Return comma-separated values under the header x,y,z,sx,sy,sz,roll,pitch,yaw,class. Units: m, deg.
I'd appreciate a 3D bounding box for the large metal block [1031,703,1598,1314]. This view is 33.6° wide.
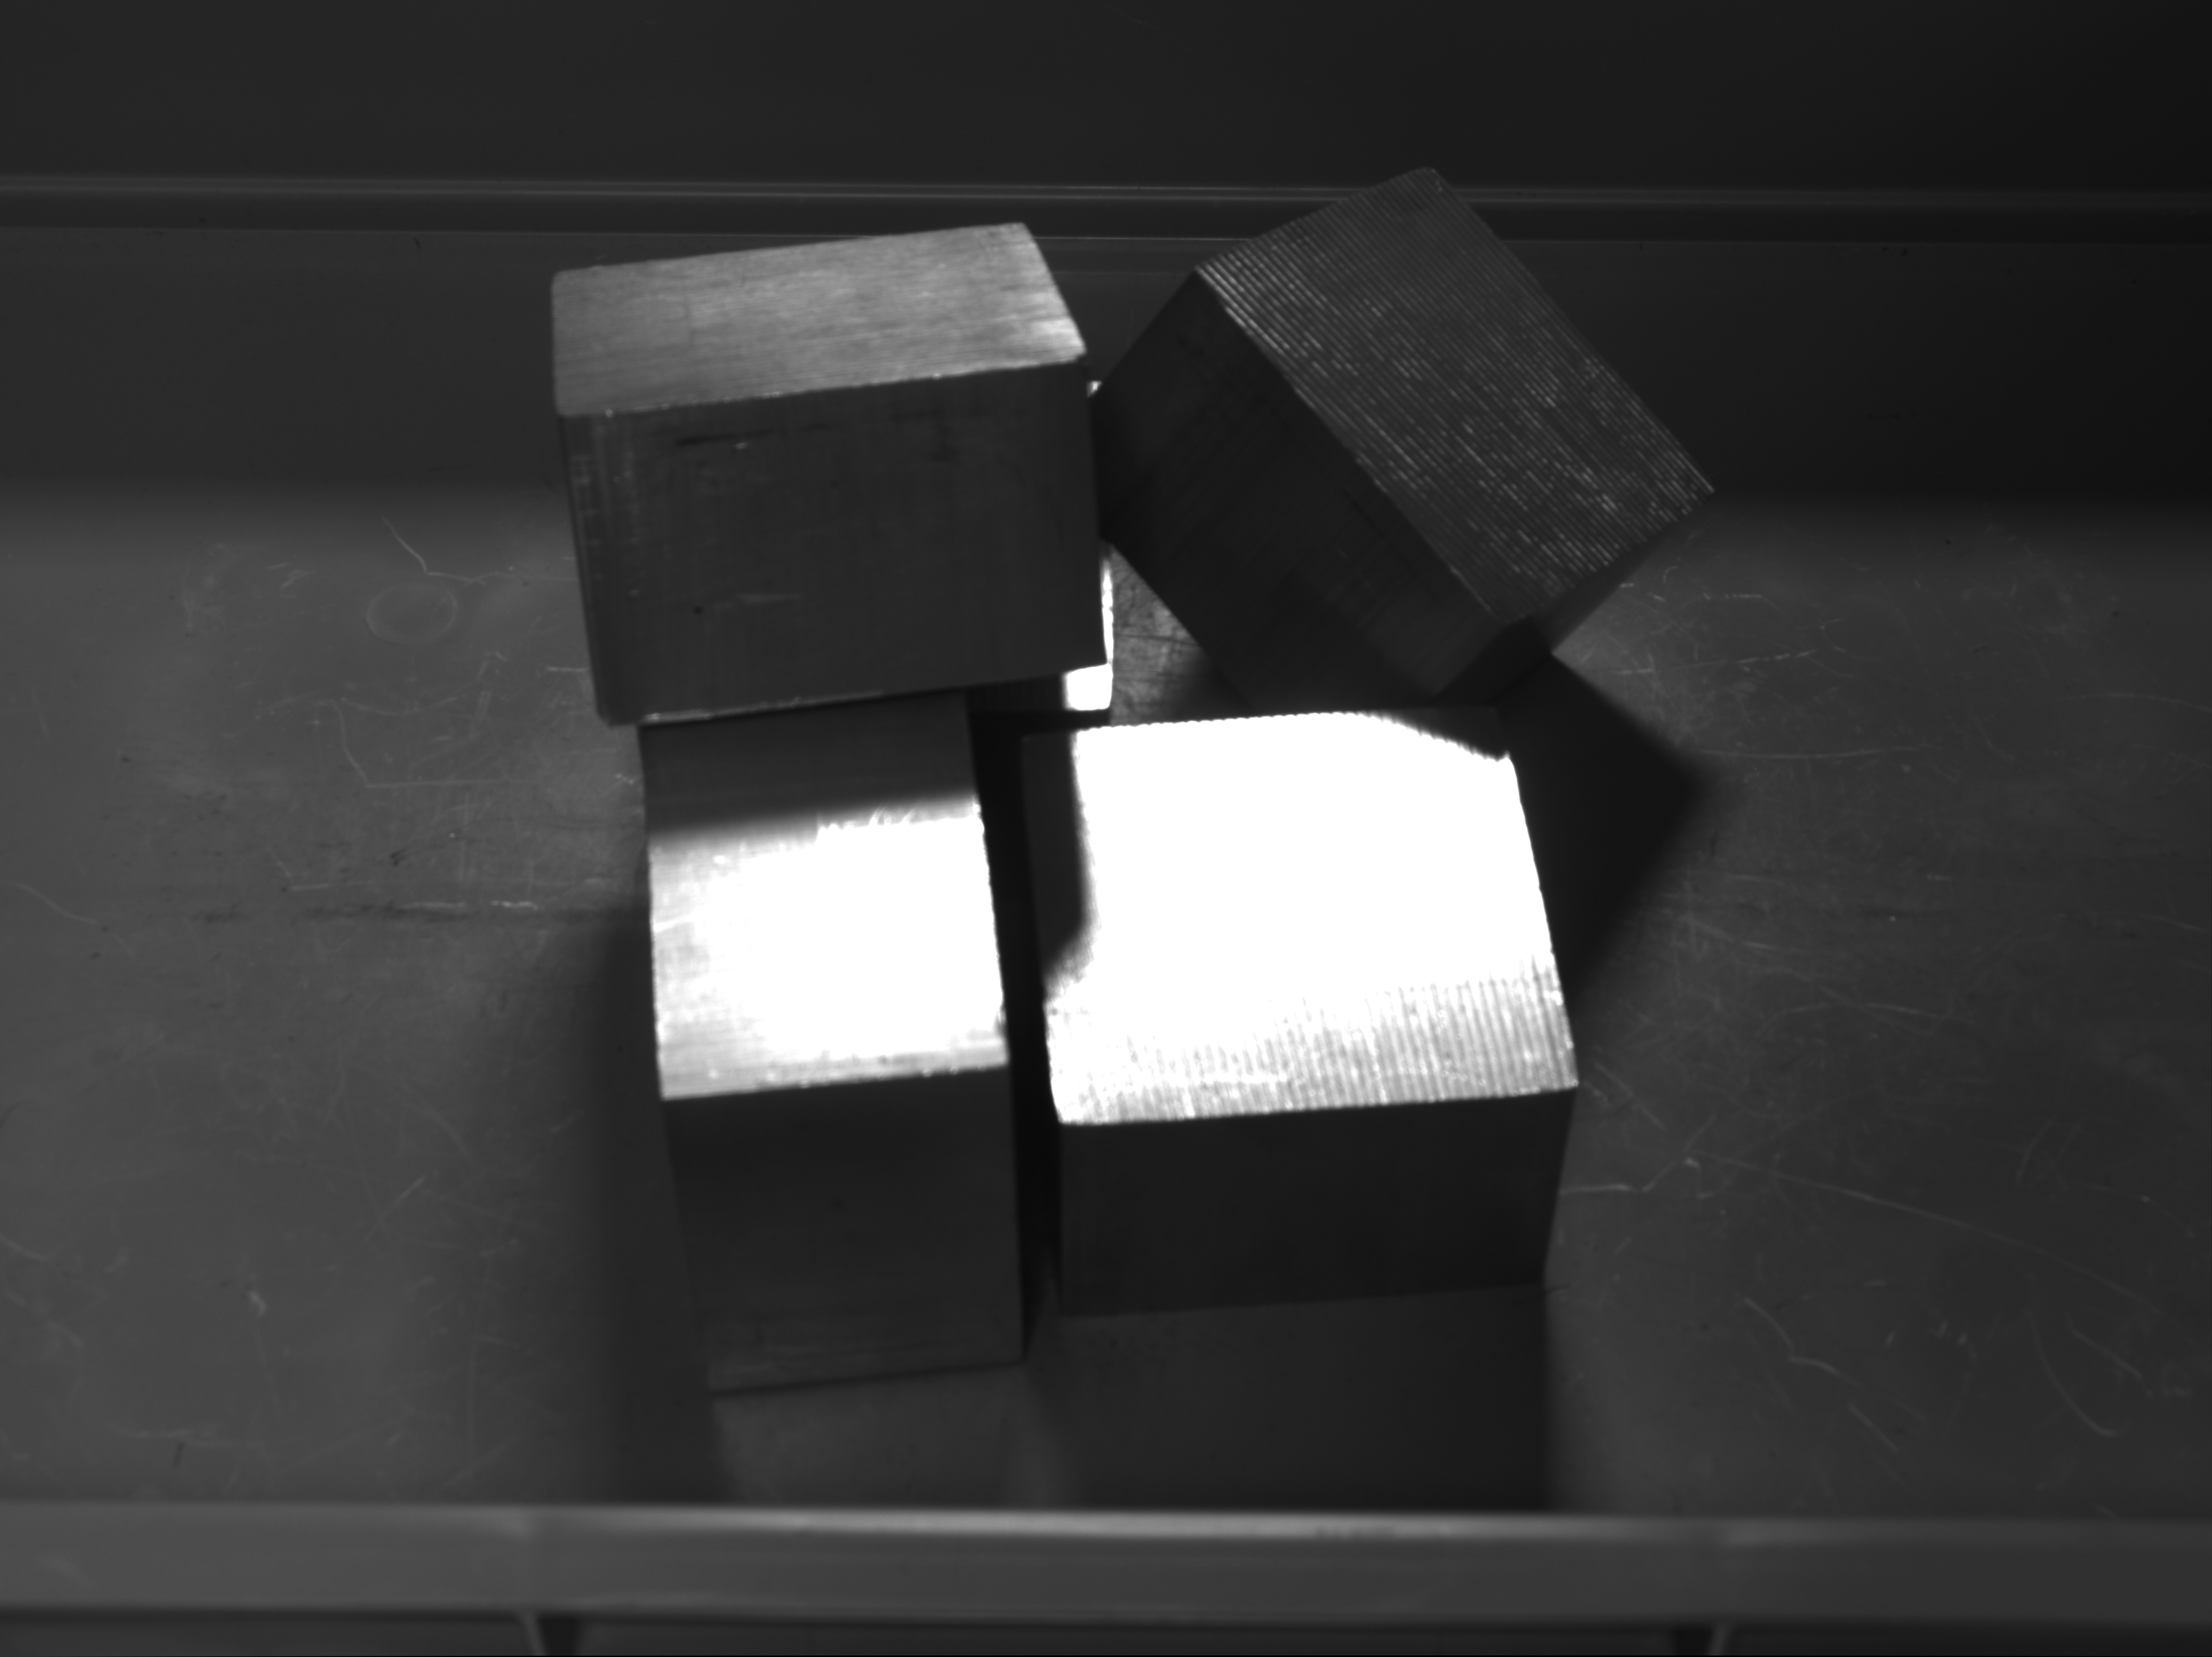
x,y,z,sx,sy,sz,roll,pitch,yaw,class
0.031,0.029,0.597,0.080,0.050,0.080,-4,50,-3,large metal block

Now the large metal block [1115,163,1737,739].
x,y,z,sx,sy,sz,roll,pitch,yaw,class
0.051,-0.063,0.644,0.080,0.050,0.080,50,41,7,large metal block

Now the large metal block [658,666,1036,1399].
x,y,z,sx,sy,sz,roll,pitch,yaw,class
-0.041,0.032,0.577,0.050,0.080,0.080,-5,50,-4,large metal block

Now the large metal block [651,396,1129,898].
x,y,z,sx,sy,sz,roll,pitch,yaw,class
-0.037,-0.034,0.653,0.080,0.050,0.080,-1,50,-1,large metal block

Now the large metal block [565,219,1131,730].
x,y,z,sx,sy,sz,roll,pitch,yaw,class
-0.043,-0.059,0.589,0.080,0.050,0.080,-7,25,-6,large metal block
